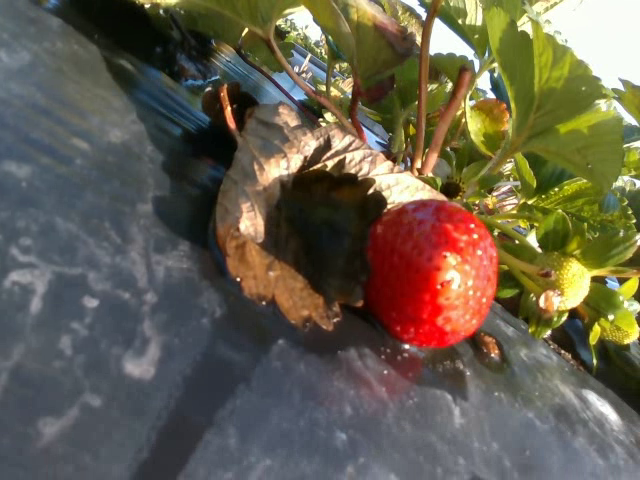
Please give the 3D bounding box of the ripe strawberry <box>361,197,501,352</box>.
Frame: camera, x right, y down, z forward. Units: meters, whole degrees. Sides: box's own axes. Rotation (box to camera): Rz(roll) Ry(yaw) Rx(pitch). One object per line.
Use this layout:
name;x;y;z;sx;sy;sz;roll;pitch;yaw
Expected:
ripe strawberry;0.023;0.009;0.123;0.037;0.046;0.054;-38;-4;11
